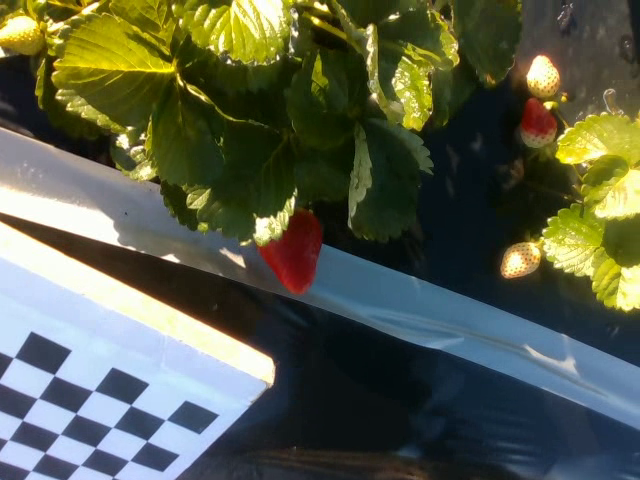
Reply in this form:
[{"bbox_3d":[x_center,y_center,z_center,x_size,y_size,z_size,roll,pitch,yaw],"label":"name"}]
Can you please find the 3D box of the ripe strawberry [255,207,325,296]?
[{"bbox_3d":[-0.018,0.005,0.361,0.045,0.064,0.048,-23,-29,18],"label":"ripe strawberry"}]
